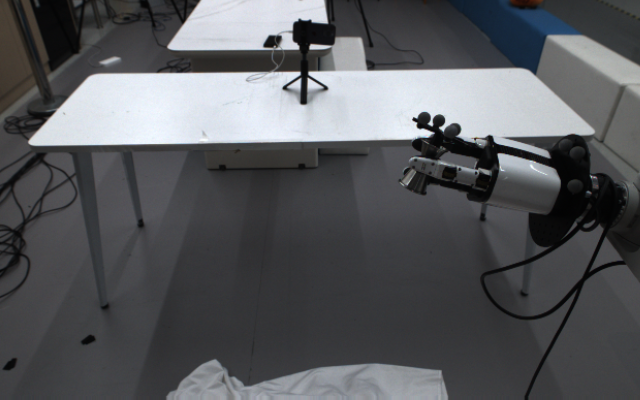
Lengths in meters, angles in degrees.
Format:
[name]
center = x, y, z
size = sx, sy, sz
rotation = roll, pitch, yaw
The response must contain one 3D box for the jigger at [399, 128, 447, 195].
[jigger]
center = 0.141, -0.047, 0.669
size = 0.043, 0.071, 0.043
rotation = 23, 19, -8
